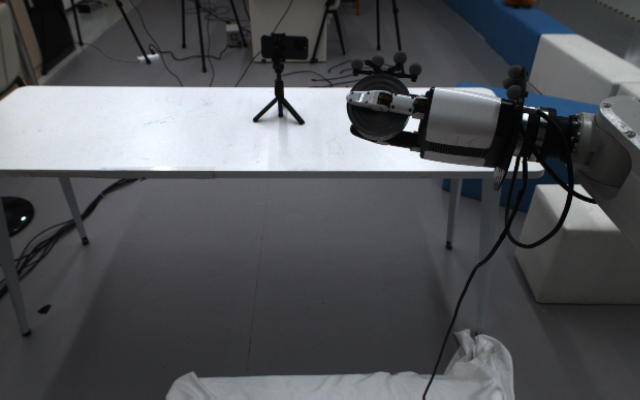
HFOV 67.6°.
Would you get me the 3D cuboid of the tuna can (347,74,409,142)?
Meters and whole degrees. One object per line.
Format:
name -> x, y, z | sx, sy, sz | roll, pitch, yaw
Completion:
tuna can -> 0.080, -0.129, 0.655 | 0.085, 0.085, 0.034 | 11, -6, 12
